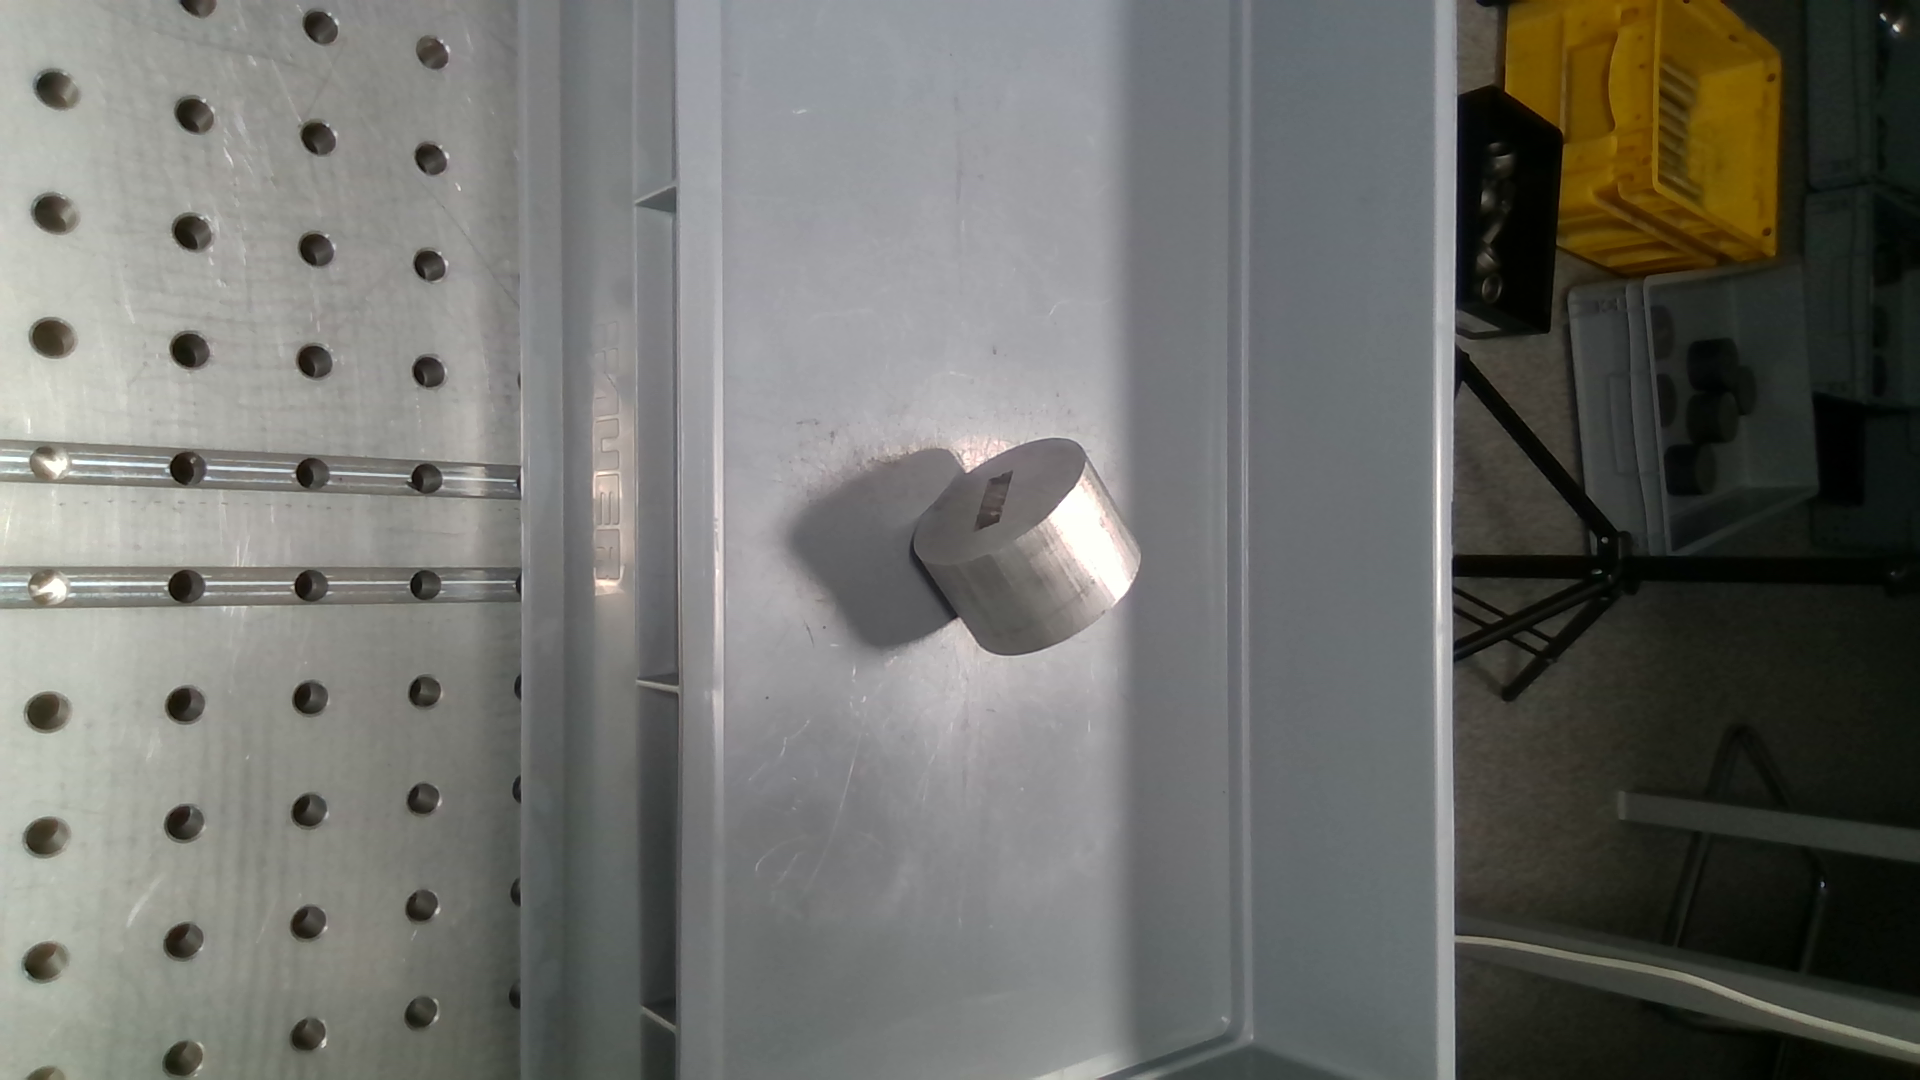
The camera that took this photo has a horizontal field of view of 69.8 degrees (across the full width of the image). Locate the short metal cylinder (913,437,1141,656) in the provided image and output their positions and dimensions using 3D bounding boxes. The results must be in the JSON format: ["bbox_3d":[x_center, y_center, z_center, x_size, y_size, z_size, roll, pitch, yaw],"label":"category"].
[{"bbox_3d":[0.028,0.002,0.568,0.080,0.080,0.050,-49,119,-29],"label":"short metal cylinder"}]
